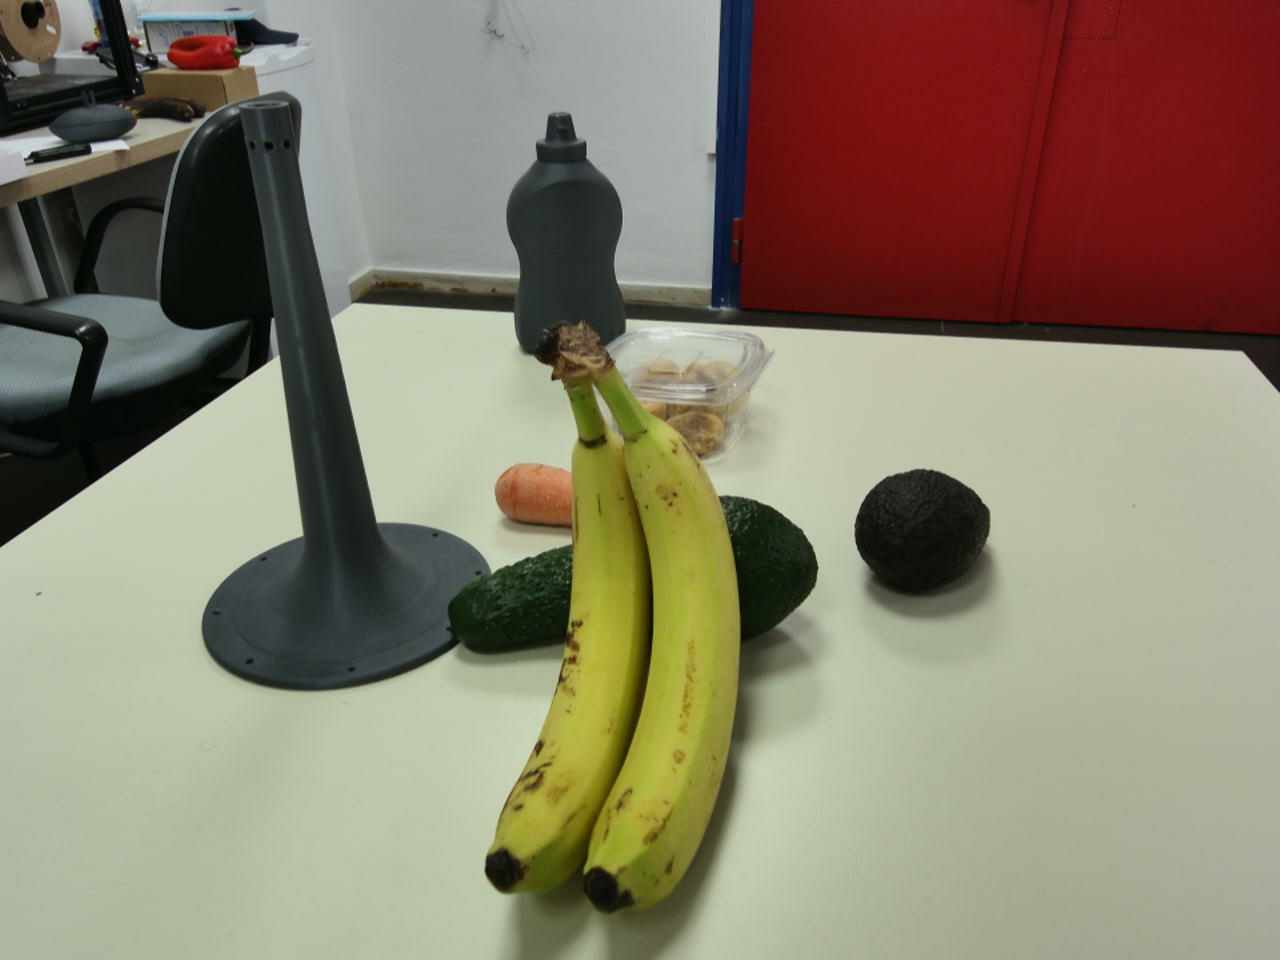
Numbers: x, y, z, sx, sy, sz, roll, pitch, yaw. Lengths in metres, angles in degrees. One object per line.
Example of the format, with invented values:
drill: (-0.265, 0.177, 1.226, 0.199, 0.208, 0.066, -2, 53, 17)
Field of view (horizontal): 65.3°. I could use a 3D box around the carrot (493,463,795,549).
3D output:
carrot: (0.002, 0.016, 0.635, 0.196, 0.041, 0.039, 5, 27, 11)
